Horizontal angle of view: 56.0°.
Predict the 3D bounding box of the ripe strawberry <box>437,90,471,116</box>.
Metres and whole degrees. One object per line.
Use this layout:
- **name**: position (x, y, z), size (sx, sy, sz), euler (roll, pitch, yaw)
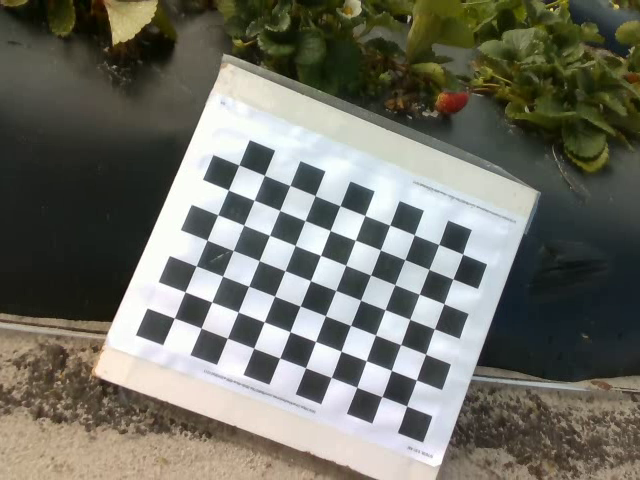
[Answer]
- **ripe strawberry**: position (0.091, -0.101, 0.418), size (0.027, 0.022, 0.021), euler (-5, 6, 3)
